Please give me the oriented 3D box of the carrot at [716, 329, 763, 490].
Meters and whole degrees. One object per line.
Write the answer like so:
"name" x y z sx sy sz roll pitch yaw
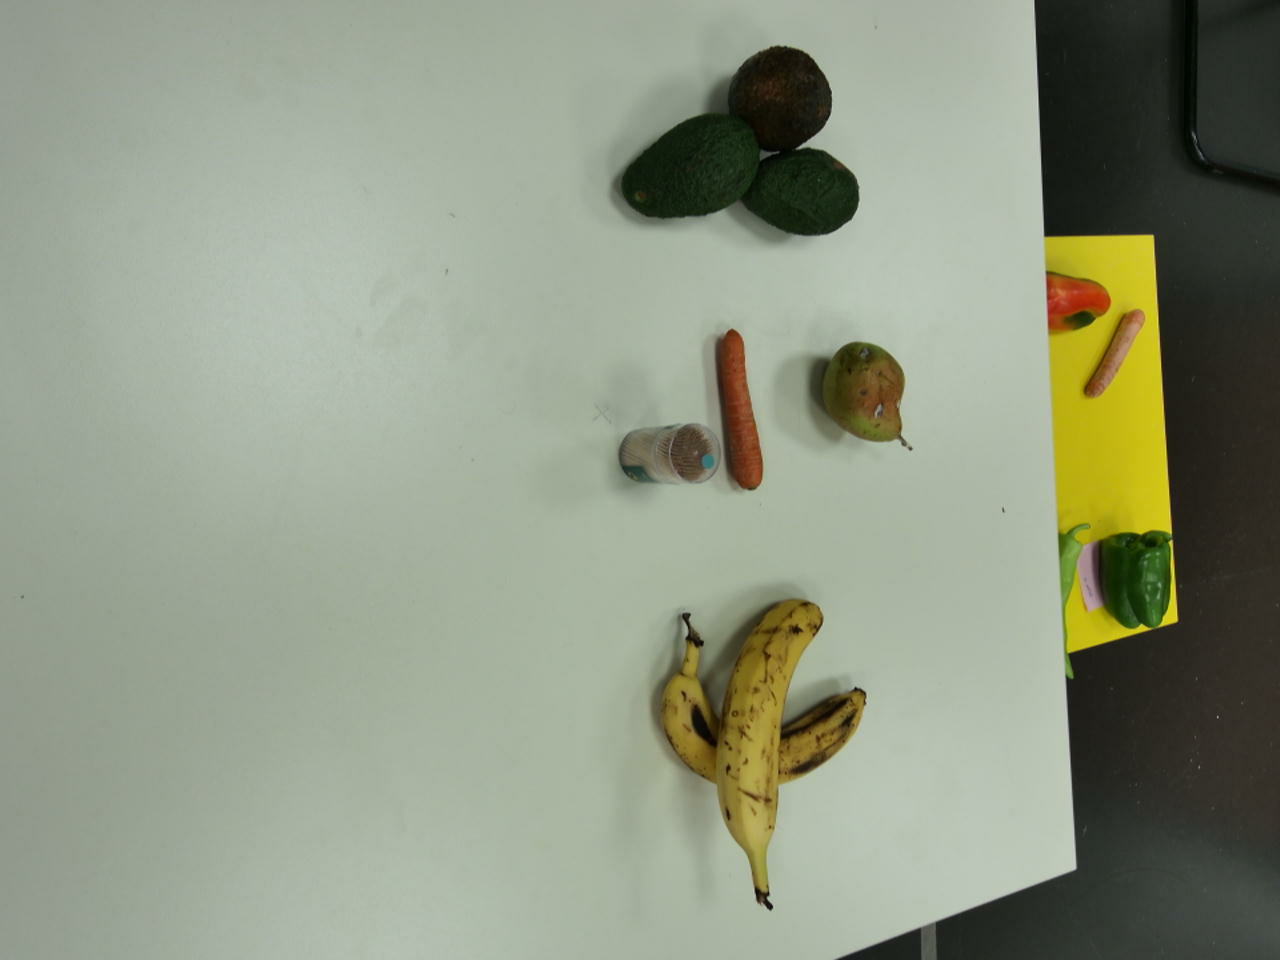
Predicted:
"carrot" 0.075 -0.052 0.744 0.024 0.023 0.122 -7 94 -28
